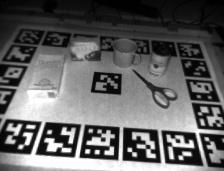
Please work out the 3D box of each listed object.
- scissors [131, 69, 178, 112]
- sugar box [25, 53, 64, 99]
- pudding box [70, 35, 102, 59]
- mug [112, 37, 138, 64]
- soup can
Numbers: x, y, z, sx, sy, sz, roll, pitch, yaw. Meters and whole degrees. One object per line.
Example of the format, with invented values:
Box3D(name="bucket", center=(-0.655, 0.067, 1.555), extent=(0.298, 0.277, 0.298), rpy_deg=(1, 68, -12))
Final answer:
Box3D(name="scissors", center=(0.137, 0.002, 0.751), extent=(0.088, 0.016, 0.200), rpy_deg=(-36, 62, -18))
Box3D(name="sugar box", center=(-0.223, -0.037, 0.739), extent=(0.093, 0.045, 0.175), rpy_deg=(1, 52, -1))
Box3D(name="pudding box", center=(-0.095, -0.144, 0.800), extent=(0.114, 0.090, 0.038), rpy_deg=(-3, 57, -7))
Box3D(name="mug", center=(0.054, -0.129, 0.811), extent=(0.094, 0.082, 0.116), rpy_deg=(-27, 56, -21))
Box3D(name="soup can", center=(0.167, -0.091, 0.787), extent=(0.068, 0.102, 0.067), rpy_deg=(2, 49, -1))
